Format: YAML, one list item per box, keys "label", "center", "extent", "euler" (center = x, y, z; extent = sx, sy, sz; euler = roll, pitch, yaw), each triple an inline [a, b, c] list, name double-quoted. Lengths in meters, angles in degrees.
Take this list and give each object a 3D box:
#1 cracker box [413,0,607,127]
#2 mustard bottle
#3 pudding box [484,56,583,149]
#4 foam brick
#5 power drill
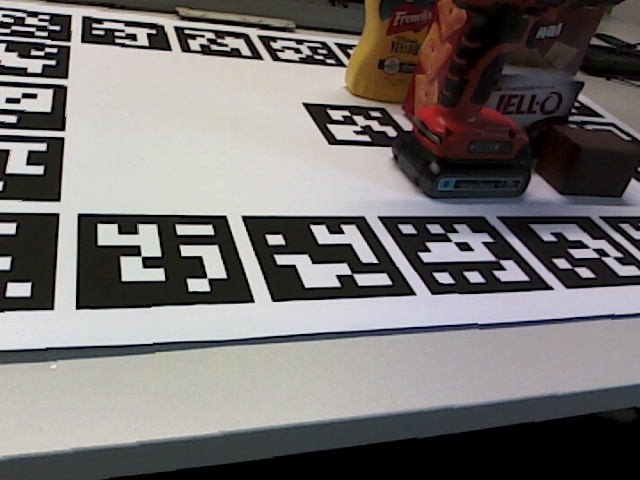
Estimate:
- label: "cracker box"
  center: [0.204, -0.214, 0.645]
  extent: [0.163, 0.213, 0.072]
  euler: [-5, 37, -20]
- label: "mustard bottle"
  center: [0.093, -0.268, 0.697]
  extent: [0.096, 0.191, 0.058]
  euler: [7, 37, -9]
- label: "pudding box"
  center: [0.201, -0.141, 0.637]
  extent: [0.113, 0.090, 0.039]
  euler: [-3, 37, -17]
- label: "foam brick"
  center: [0.267, -0.078, 0.626]
  extent: [0.078, 0.051, 0.053]
  euler: [0, 39, -18]
- label: "power drill"
  center: [0.173, -0.157, 0.530]
  extent: [0.184, 0.187, 0.058]
  euler: [-2, 34, -21]
